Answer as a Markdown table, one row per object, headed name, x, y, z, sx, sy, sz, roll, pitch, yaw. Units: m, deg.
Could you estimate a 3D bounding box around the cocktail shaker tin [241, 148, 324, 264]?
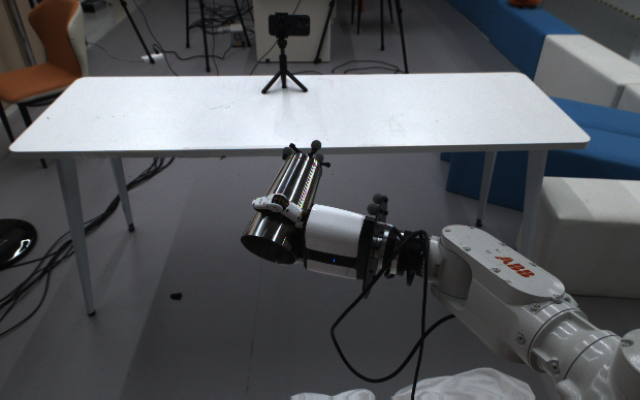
| name | x | y | z | sx | sy | sz | roll | pitch | yaw |
| --- | --- | --- | --- | --- | --- | --- | --- | --- | --- |
| cocktail shaker tin | -0.056 | 0.008 | 0.788 | 0.093 | 0.093 | 0.170 | 14 | 61 | 16 |
